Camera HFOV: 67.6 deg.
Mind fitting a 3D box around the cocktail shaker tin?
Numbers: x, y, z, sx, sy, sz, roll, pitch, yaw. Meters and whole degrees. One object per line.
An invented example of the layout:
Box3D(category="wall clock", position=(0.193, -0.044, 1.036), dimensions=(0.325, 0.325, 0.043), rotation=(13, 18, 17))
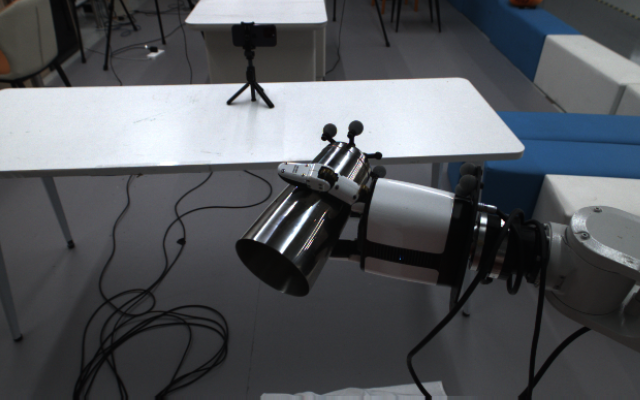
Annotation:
Box3D(category="cocktail shaker tin", position=(-0.005, 0.008, 0.543), dimensions=(0.093, 0.093, 0.170), rotation=(19, 55, 22))
